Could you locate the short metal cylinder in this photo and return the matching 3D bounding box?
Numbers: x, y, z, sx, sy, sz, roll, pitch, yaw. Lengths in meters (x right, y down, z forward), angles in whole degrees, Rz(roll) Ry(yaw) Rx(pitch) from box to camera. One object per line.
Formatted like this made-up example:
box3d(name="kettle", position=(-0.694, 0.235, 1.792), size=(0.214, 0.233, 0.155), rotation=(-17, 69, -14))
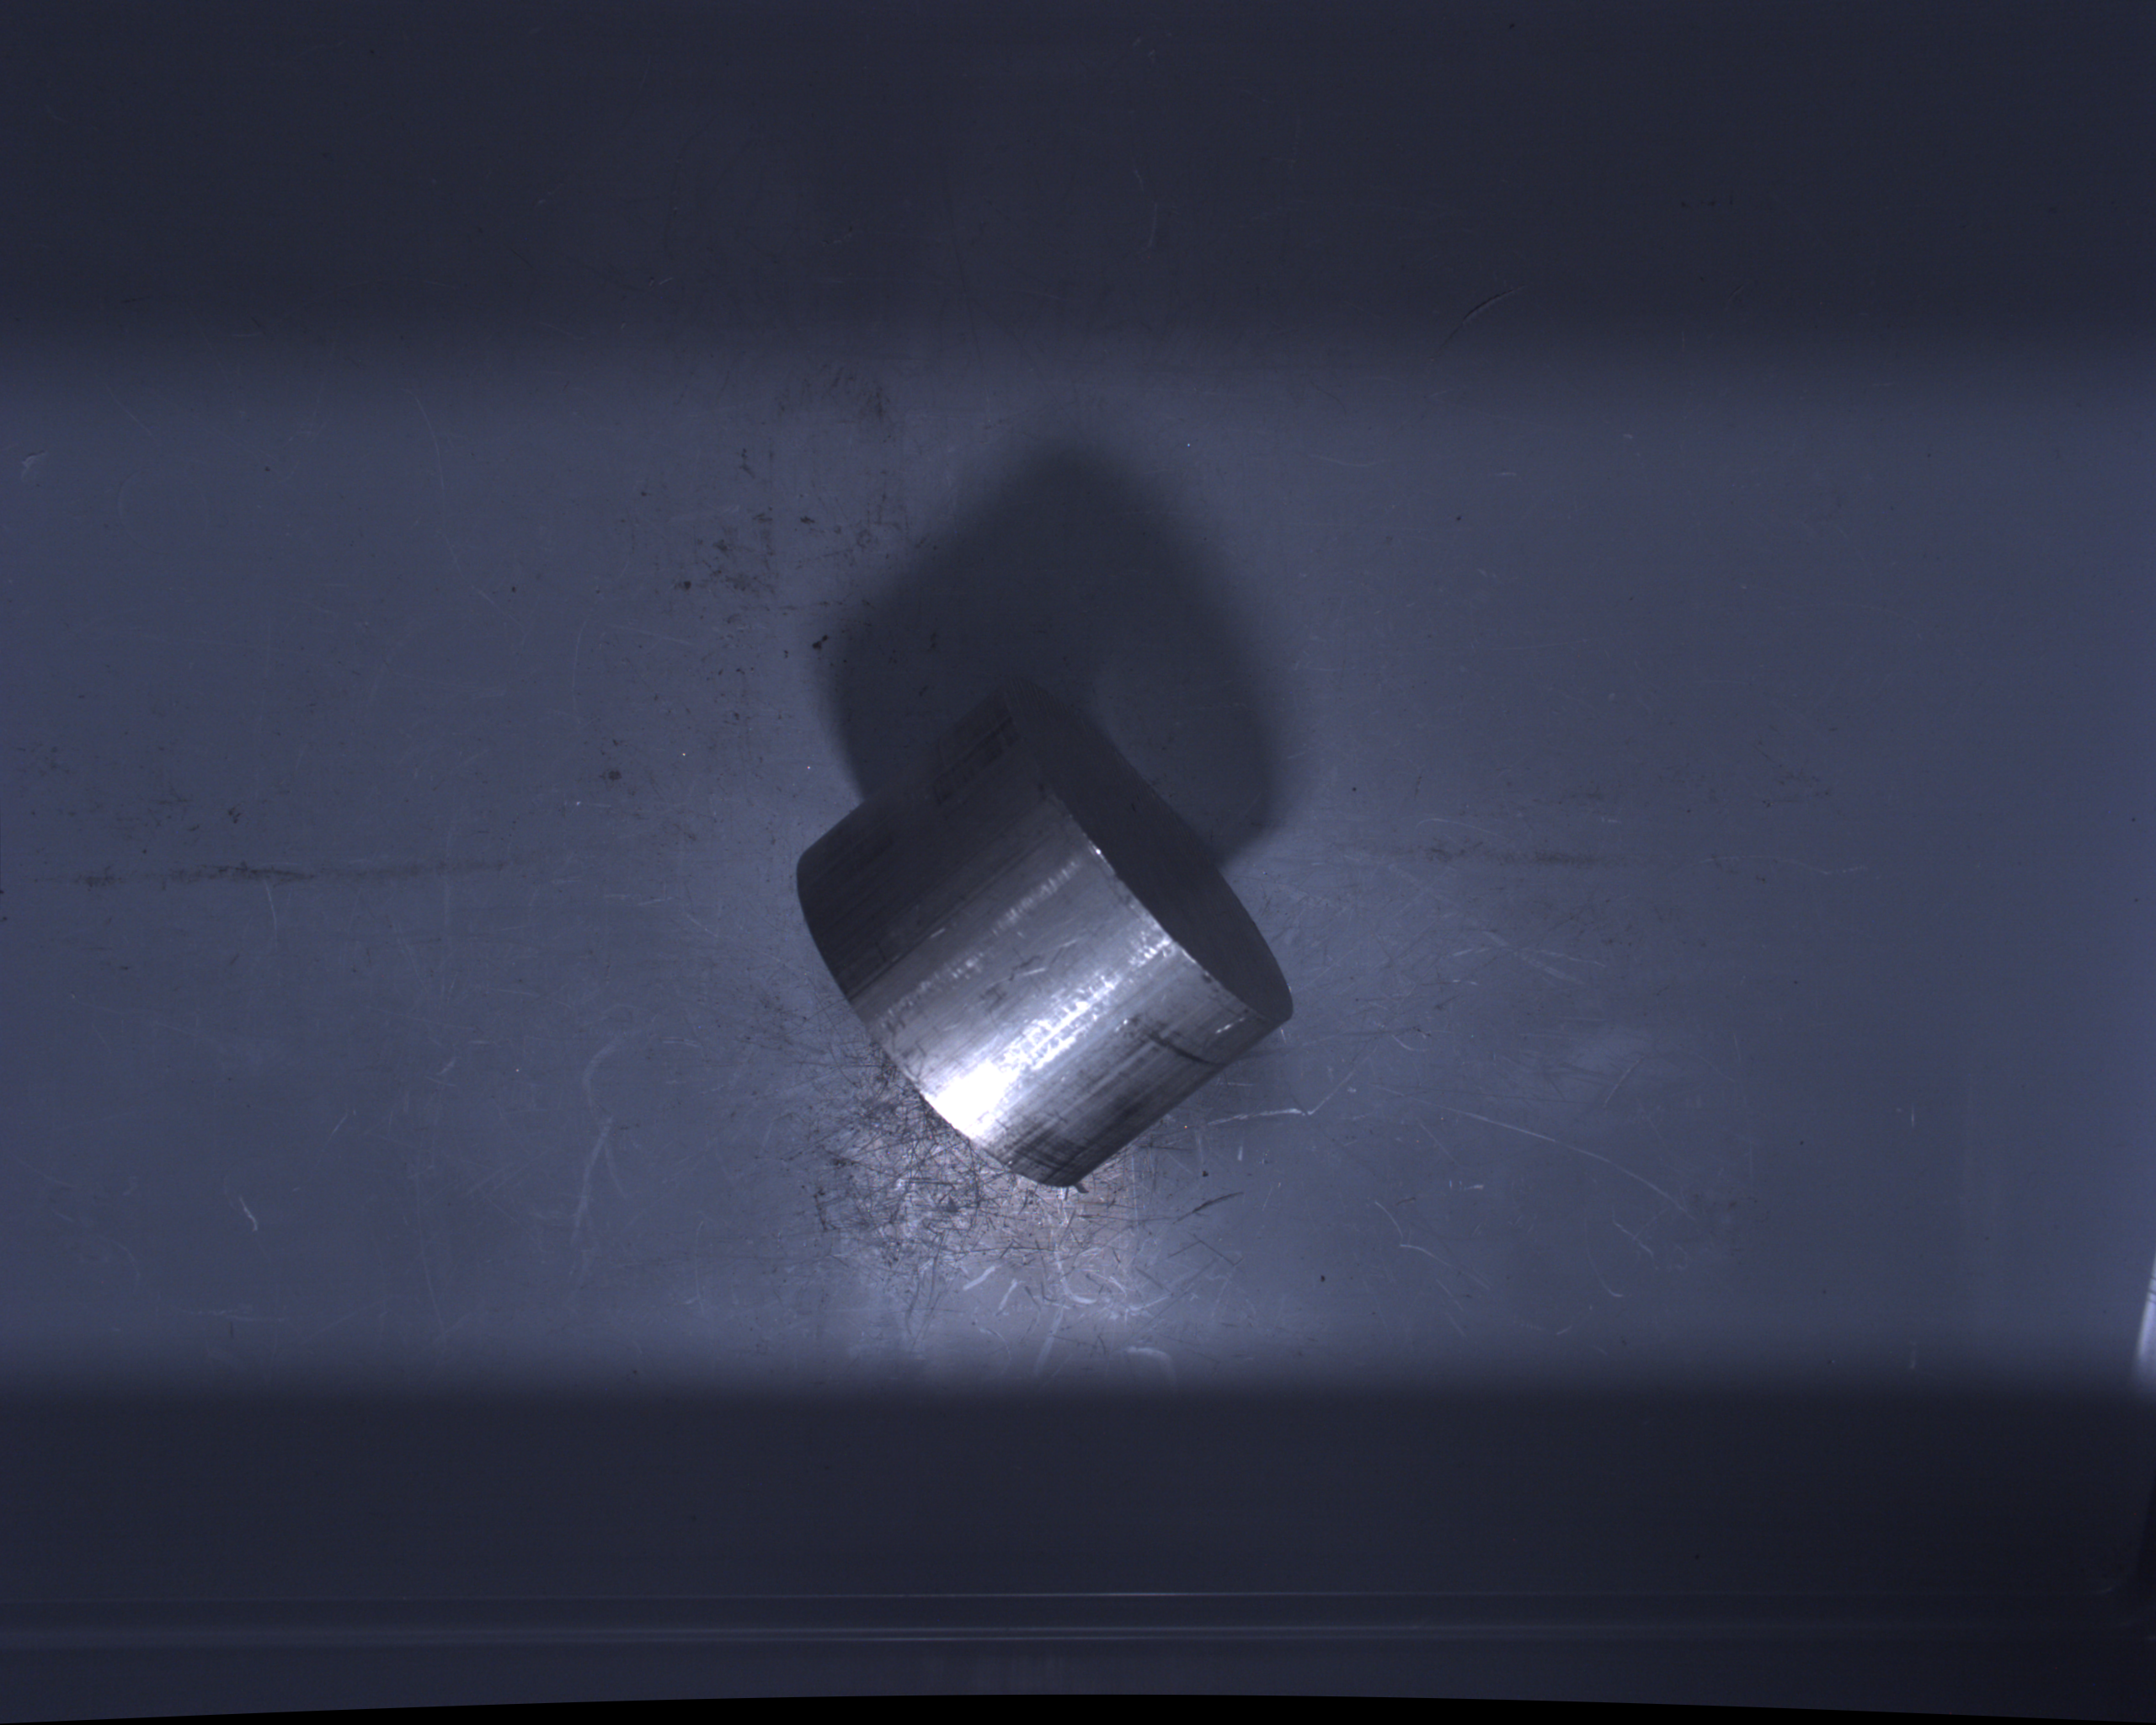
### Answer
box3d(name="short metal cylinder", position=(-0.005, 0.012, 0.384), size=(0.050, 0.080, 0.080), rotation=(-40, 106, 13))
